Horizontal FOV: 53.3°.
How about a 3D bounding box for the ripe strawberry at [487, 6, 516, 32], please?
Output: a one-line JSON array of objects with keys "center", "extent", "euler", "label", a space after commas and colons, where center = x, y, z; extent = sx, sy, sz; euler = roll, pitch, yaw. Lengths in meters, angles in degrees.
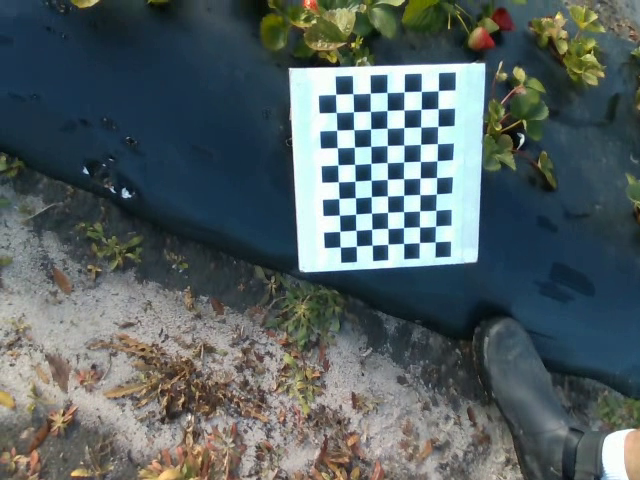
[{"center": [0.358, -0.423, 1.225], "extent": [0.064, 0.049, 0.050], "euler": [38, 7, -11], "label": "ripe strawberry"}]
